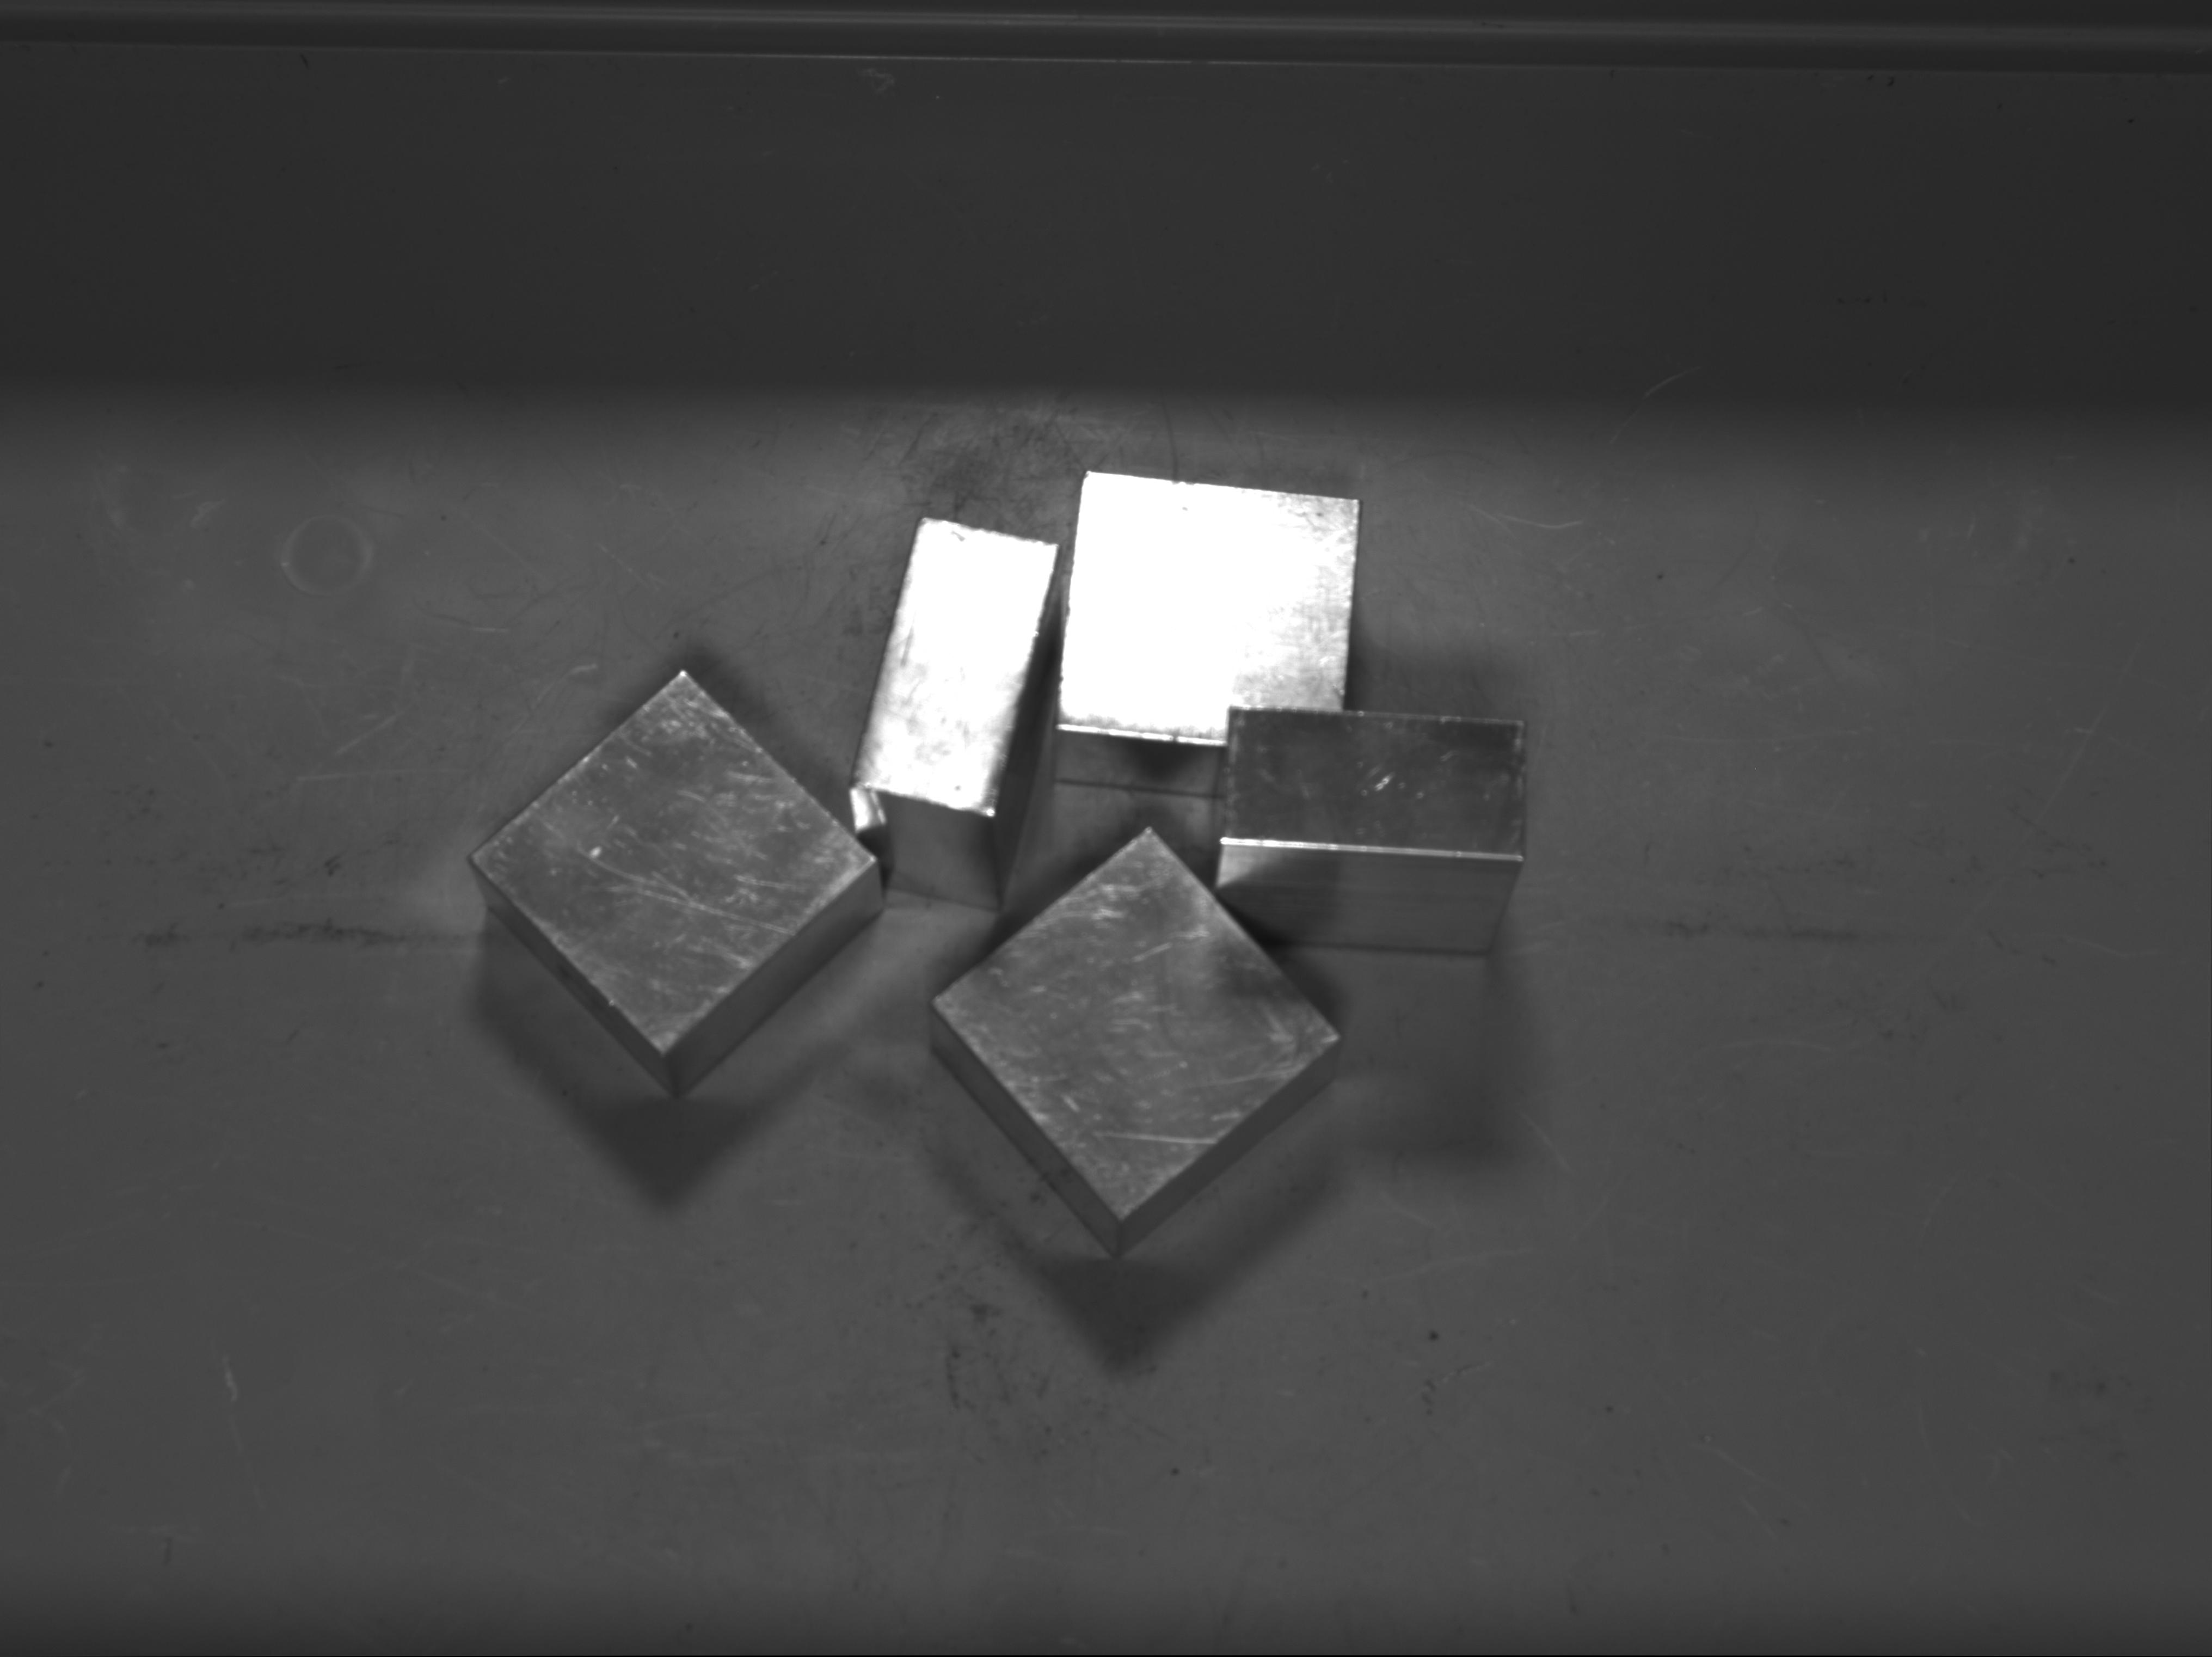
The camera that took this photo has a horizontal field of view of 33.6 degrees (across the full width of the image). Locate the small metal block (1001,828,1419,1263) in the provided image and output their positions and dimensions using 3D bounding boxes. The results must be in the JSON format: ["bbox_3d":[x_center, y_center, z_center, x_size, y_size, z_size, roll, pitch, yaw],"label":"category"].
[{"bbox_3d":[0.018,0.037,0.629,0.050,0.025,0.050,-39,74,-13],"label":"small metal block"}]

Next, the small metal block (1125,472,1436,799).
[{"bbox_3d":[0.031,-0.033,0.656,0.050,0.025,0.050,6,70,2],"label":"small metal block"}]

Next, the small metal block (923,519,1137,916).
[{"bbox_3d":[-0.012,-0.019,0.636,0.025,0.050,0.050,12,70,5],"label":"small metal block"}]

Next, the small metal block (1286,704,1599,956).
[{"bbox_3d":[0.057,0.001,0.629,0.050,0.050,0.025,3,70,1],"label":"small metal block"}]

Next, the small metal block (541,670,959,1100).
[{"bbox_3d":[-0.062,0.010,0.640,0.050,0.025,0.050,-43,75,-14],"label":"small metal block"}]
